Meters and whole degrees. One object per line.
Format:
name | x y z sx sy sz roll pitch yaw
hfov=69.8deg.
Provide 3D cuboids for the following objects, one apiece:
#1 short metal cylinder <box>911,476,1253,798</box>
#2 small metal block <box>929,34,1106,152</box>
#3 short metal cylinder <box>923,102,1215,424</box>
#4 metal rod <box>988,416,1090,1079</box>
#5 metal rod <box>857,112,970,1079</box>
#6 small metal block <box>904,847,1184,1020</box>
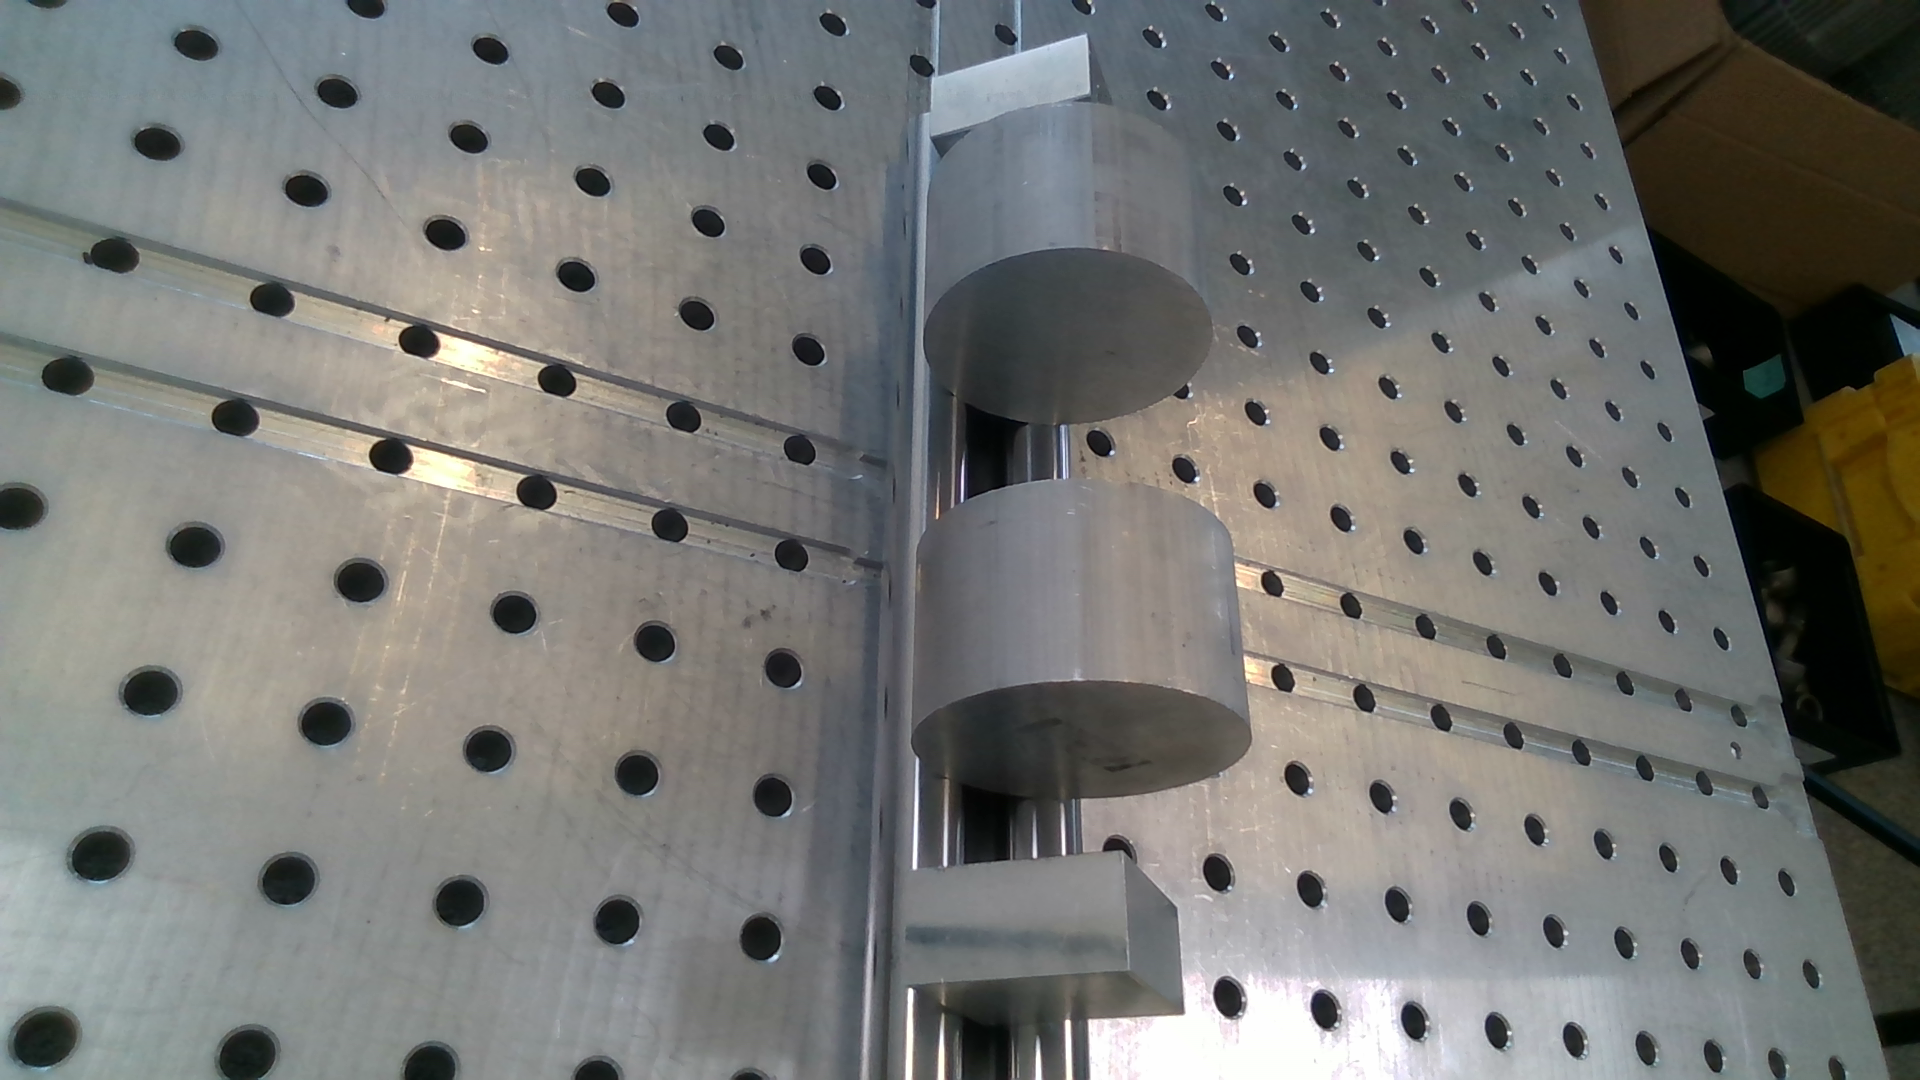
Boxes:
short metal cylinder | 0.029 0.027 0.336 0.080 0.080 0.050 15 58 -24
small metal block | 0.023 -0.124 0.432 0.050 0.050 0.025 54 31 -56
short metal cylinder | 0.030 -0.076 0.392 0.080 0.080 0.050 15 58 -24
metal rod | 0.021 0.007 0.406 0.025 0.025 0.299 15 58 -24
metal rod | -0.010 -0.004 0.393 0.025 0.025 0.299 15 58 -24
small metal block | 0.020 0.092 0.314 0.050 0.050 0.025 53 32 -55
